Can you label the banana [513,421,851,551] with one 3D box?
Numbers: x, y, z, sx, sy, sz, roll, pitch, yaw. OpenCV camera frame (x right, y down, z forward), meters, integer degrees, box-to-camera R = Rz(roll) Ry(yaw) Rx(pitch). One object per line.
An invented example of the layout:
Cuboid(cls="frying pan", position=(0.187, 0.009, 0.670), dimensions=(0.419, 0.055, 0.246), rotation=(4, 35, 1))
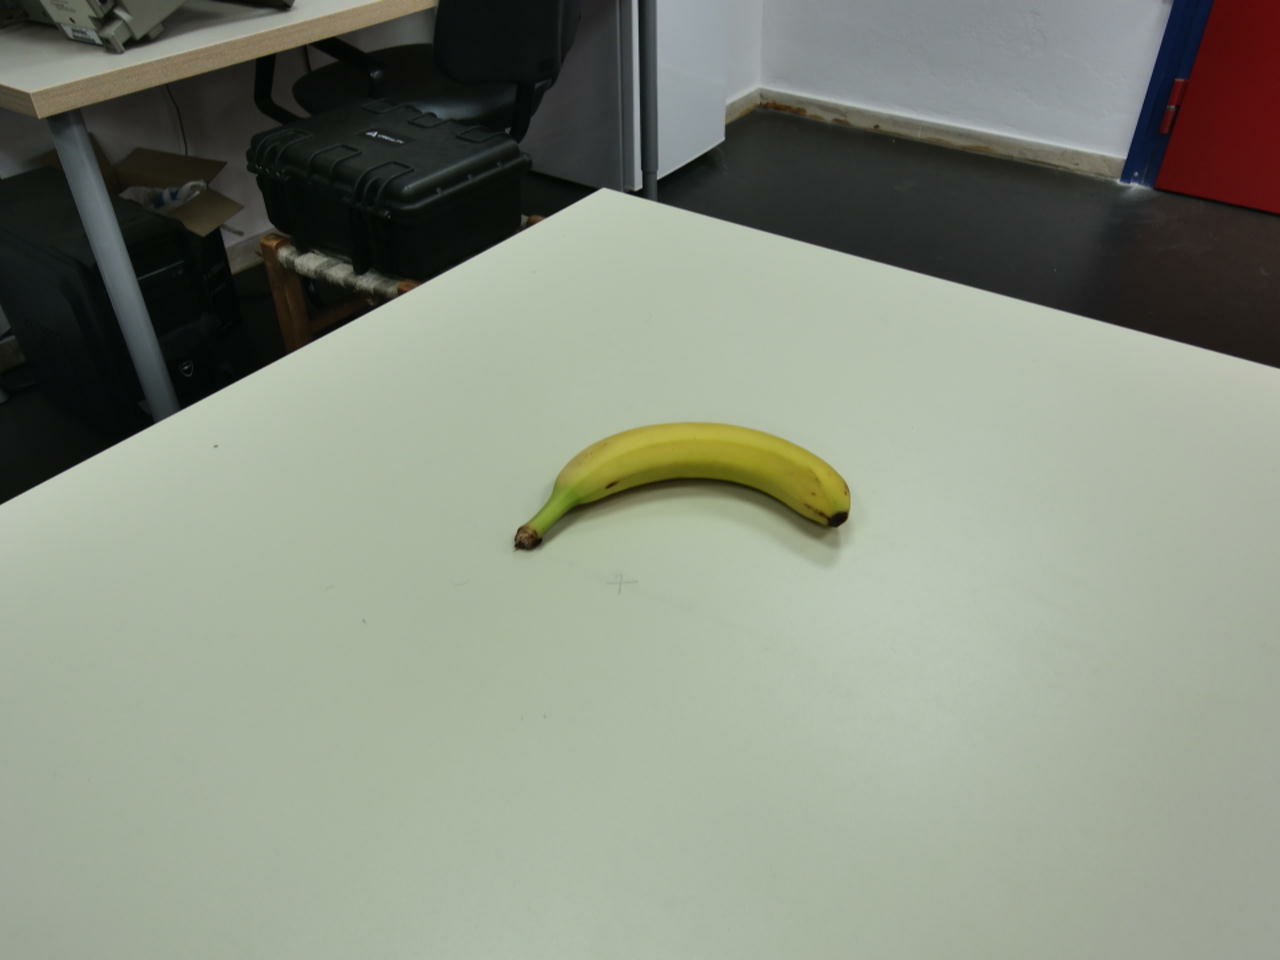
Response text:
Cuboid(cls="banana", position=(0.024, -0.002, 0.611), dimensions=(0.196, 0.041, 0.094), rotation=(0, 37, 1))
